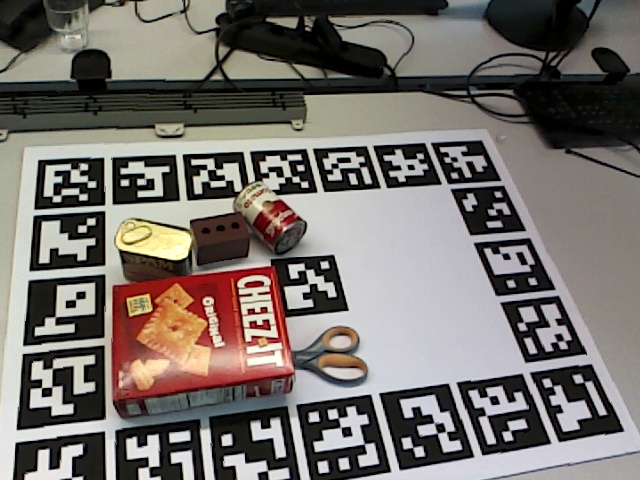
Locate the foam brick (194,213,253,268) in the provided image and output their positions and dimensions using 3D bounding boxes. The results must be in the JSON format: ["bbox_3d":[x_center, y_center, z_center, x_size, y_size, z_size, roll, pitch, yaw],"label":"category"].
[{"bbox_3d":[-0.146,0.001,0.934,0.078,0.051,0.053,-14,59,-18],"label":"foam brick"}]

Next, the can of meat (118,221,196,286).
[{"bbox_3d":[-0.229,0.024,0.880,0.102,0.083,0.058,7,55,-5],"label":"can of meat"}]

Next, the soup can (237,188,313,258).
[{"bbox_3d":[-0.071,-0.028,0.966,0.102,0.068,0.068,36,57,22],"label":"soup can"}]

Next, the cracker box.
[{"bbox_3d":[-0.150,0.131,0.809,0.213,0.072,0.165,-11,57,-12],"label":"cracker box"}]

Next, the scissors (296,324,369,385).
[{"bbox_3d":[-0.036,0.168,0.840,0.202,0.016,0.088,-9,57,-15],"label":"scissors"}]
